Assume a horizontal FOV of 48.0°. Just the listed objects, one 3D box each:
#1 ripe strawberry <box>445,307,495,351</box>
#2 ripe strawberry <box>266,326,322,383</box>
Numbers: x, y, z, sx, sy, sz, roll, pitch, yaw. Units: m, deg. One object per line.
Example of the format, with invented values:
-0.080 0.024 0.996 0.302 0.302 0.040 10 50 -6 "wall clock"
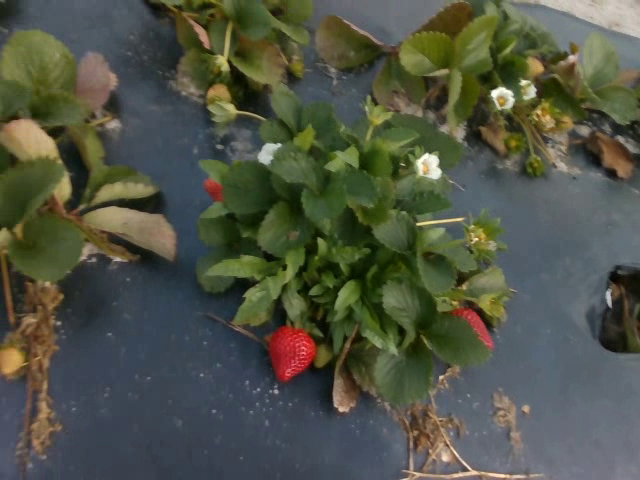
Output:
0.128 0.079 0.602 0.046 0.043 0.047 30 -11 22 "ripe strawberry"
-0.026 0.093 0.552 0.043 0.051 0.043 21 -34 -9 "ripe strawberry"
